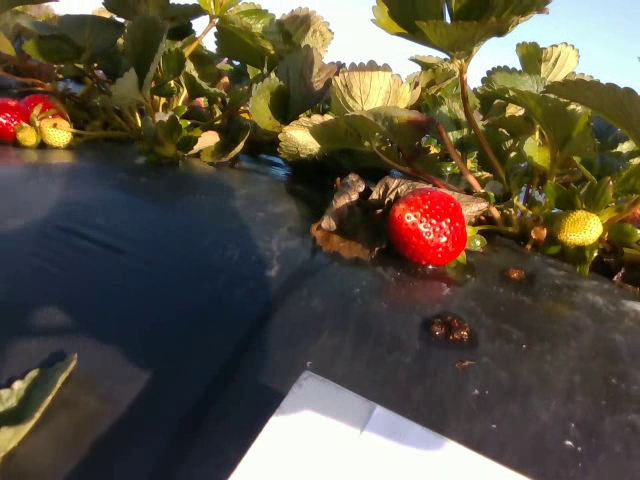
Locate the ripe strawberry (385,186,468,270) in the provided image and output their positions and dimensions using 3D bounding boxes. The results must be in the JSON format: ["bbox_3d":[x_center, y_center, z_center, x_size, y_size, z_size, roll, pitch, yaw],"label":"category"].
[{"bbox_3d":[0.038,-0.006,0.248,0.054,0.038,0.046,6,29,-48],"label":"ripe strawberry"}]
